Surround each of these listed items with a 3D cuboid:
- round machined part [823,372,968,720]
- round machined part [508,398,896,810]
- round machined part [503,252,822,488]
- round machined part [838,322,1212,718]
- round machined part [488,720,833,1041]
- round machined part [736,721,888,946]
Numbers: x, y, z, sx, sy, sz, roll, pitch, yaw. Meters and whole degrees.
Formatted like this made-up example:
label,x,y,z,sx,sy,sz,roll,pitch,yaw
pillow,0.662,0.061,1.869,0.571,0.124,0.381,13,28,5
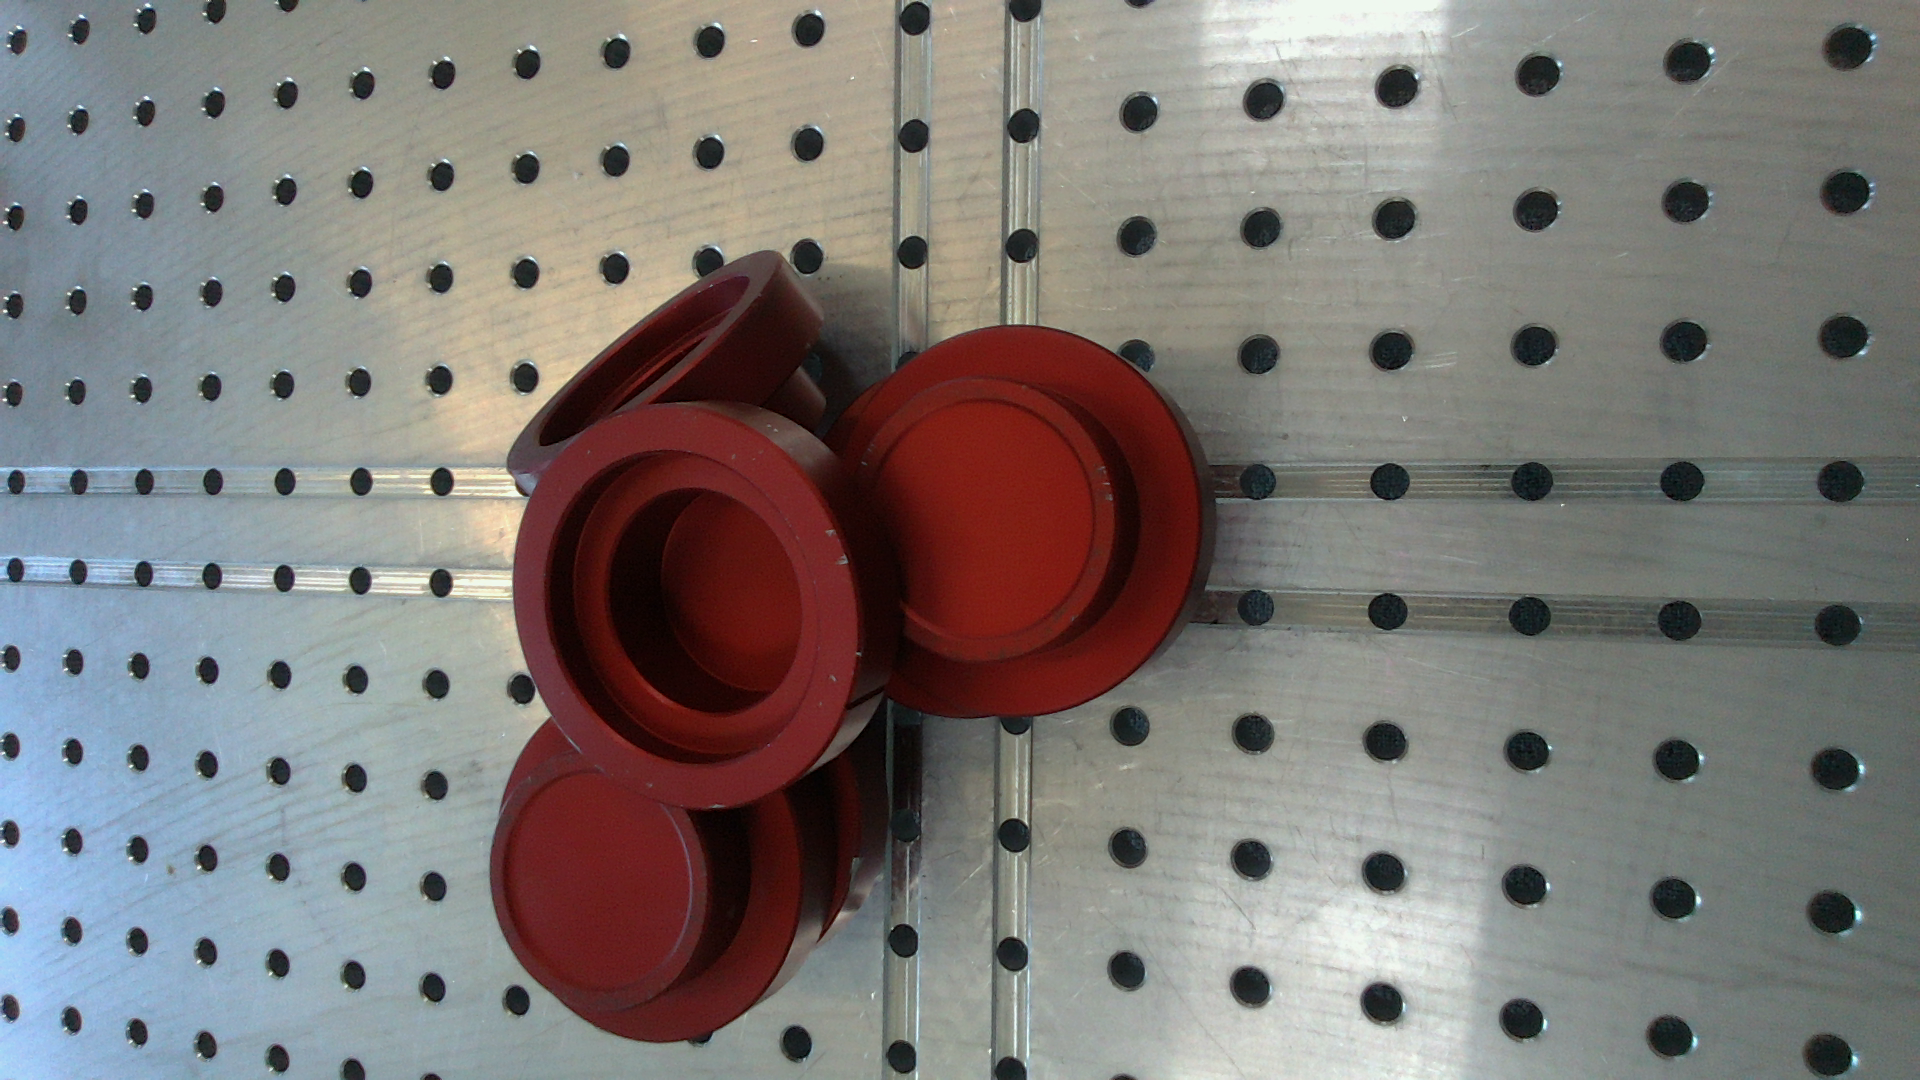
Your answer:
label,x,y,z,sx,sy,sz,roll,pitch,yaw
round machined part,-0.002,-0.001,0.368,0.098,0.042,0.098,0,90,20
round machined part,-0.060,0.013,0.343,0.098,0.042,0.098,4,99,22
round machined part,-0.079,-0.037,0.398,0.098,0.098,0.042,-29,116,18
round machined part,0.011,-0.005,0.340,0.098,0.042,0.098,0,89,20
round machined part,-0.088,0.088,0.376,0.098,0.042,0.098,0,90,20
round machined part,-0.073,0.078,0.394,0.098,0.042,0.098,0,90,20
